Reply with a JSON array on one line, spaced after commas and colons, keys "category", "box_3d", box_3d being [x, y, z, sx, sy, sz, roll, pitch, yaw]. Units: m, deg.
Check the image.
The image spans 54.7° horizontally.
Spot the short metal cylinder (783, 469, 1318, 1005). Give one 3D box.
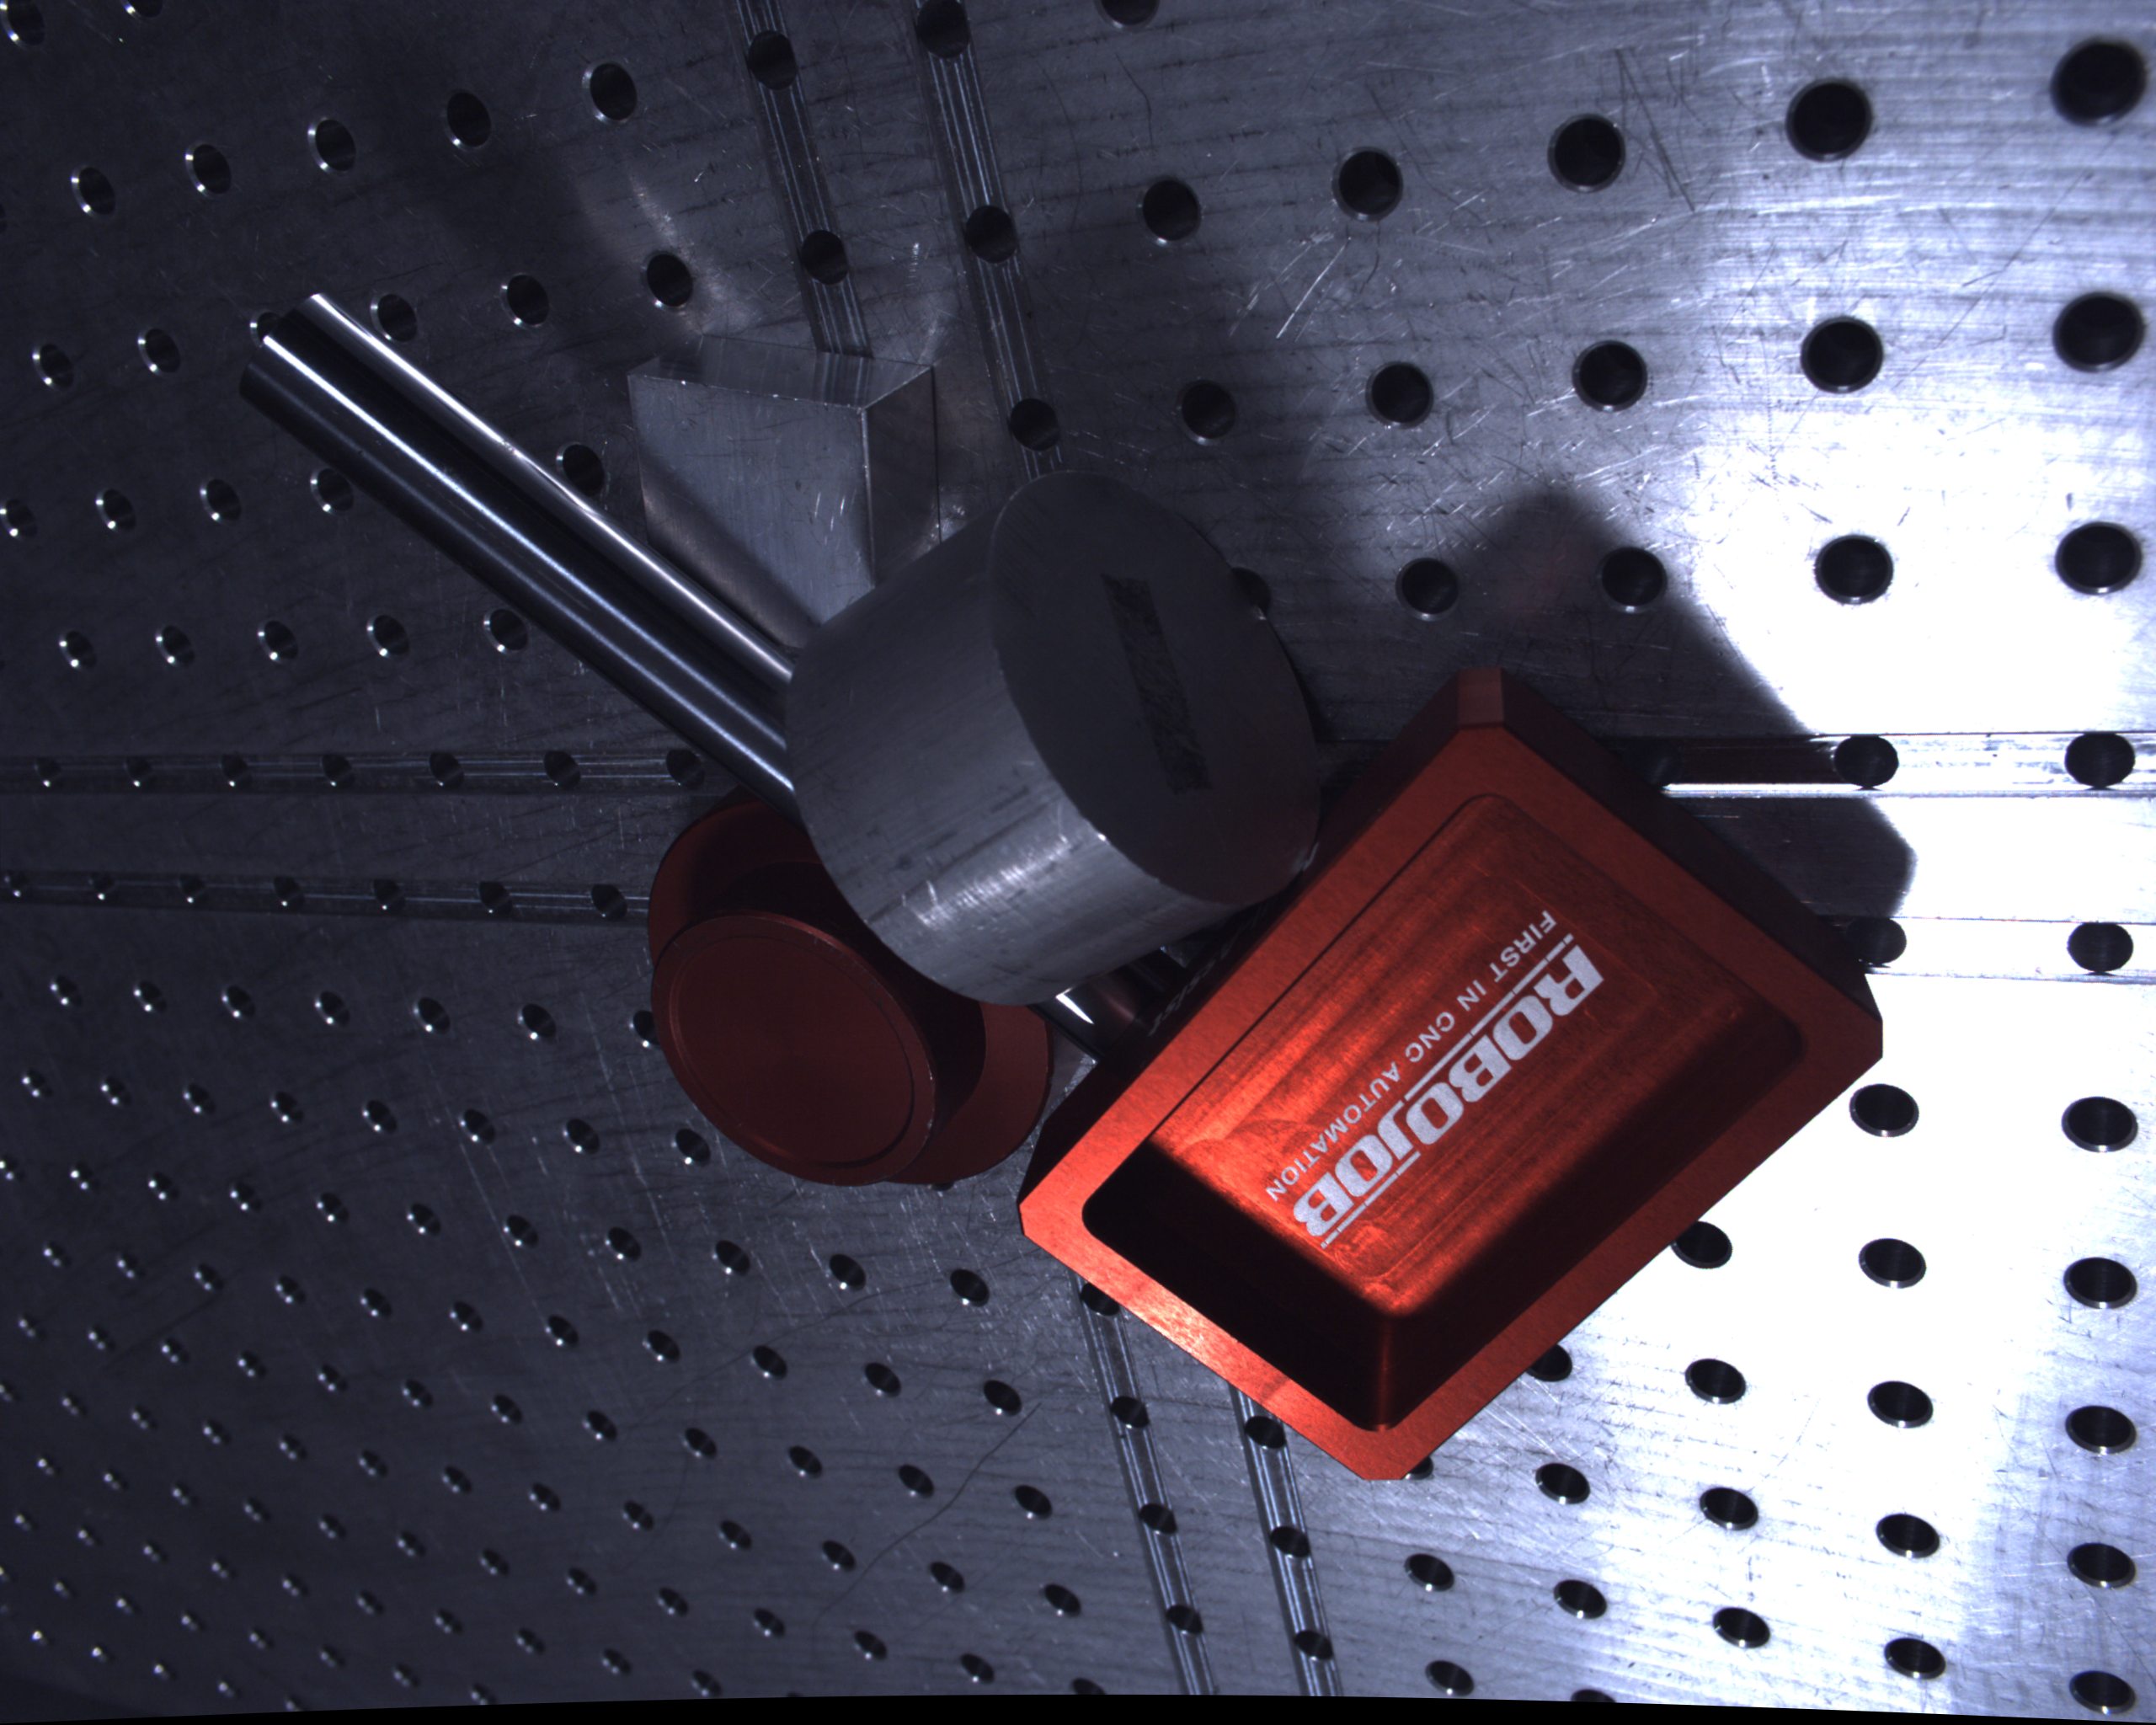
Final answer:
[{"category": "short metal cylinder", "box_3d": [-0.004, -0.021, 0.363, 0.050, 0.080, 0.080, -28, 103, 37]}]

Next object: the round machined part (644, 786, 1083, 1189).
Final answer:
[{"category": "round machined part", "box_3d": [-0.051, 0.030, 0.443, 0.098, 0.042, 0.097, 13, 124, 20]}]

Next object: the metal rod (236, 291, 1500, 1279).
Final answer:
[{"category": "metal rod", "box_3d": [-0.026, -0.003, 0.400, 0.301, 0.025, 0.025, 38, 129, -8]}]

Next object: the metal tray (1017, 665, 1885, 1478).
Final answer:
[{"category": "metal tray", "box_3d": [0.063, 0.041, 0.372, 0.090, 0.030, 0.129, 37, 114, -7]}]

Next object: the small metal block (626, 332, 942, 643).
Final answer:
[{"category": "small metal block", "box_3d": [-0.054, -0.070, 0.395, 0.050, 0.025, 0.050, 12, 124, 21]}]
